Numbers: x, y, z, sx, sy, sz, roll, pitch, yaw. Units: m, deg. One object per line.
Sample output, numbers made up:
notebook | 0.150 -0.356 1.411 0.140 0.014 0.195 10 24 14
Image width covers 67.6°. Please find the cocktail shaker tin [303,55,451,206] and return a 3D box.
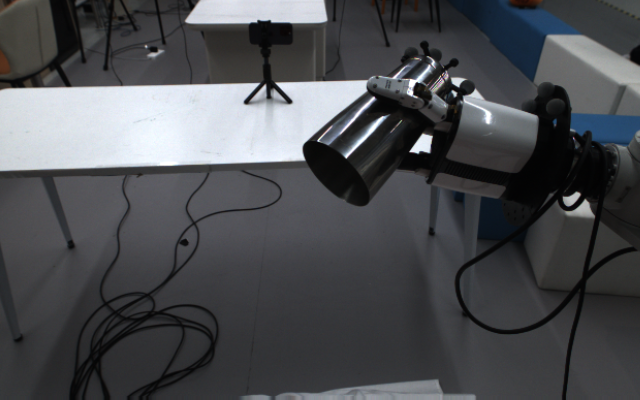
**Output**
cocktail shaker tin | 0.072 -0.088 0.536 0.093 0.093 0.170 32 66 35
